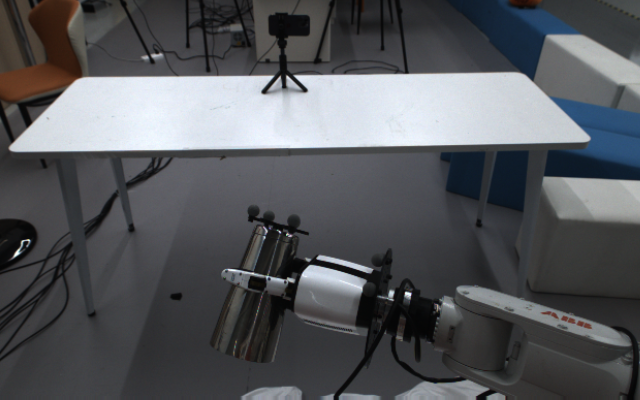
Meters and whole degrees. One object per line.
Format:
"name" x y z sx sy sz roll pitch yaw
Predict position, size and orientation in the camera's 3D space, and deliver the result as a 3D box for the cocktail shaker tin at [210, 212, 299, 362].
"cocktail shaker tin" -0.085 0.125 0.668 0.093 0.170 0.093 16 -7 2
